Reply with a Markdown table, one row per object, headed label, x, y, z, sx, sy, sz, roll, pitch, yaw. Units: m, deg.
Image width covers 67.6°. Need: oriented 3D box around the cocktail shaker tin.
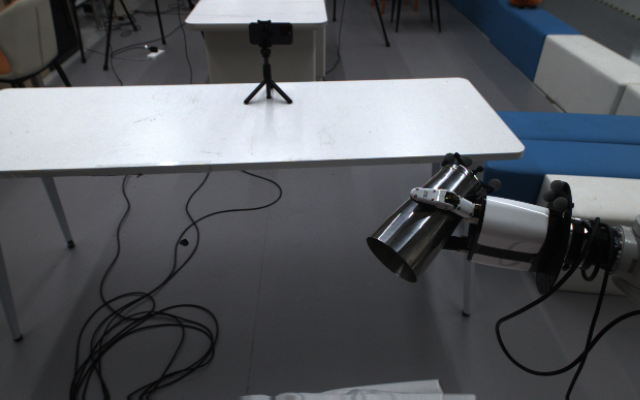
| label | x | y | z | sx | sy | sz | roll | pitch | yaw |
| --- | --- | --- | --- | --- | --- | --- | --- | --- | --- |
| cocktail shaker tin | 0.157 | 0.022 | 0.703 | 0.170 | 0.093 | 0.093 | -43 | 50 | -14 |
